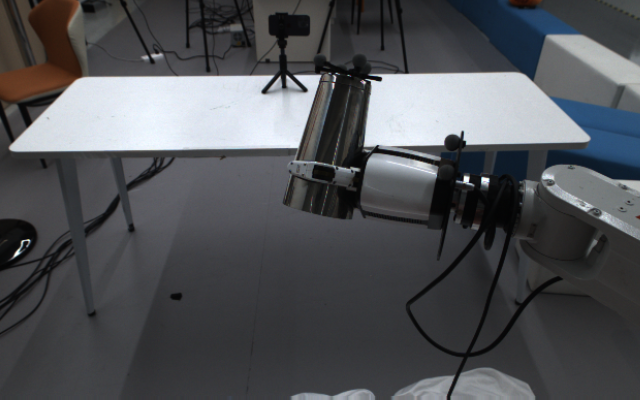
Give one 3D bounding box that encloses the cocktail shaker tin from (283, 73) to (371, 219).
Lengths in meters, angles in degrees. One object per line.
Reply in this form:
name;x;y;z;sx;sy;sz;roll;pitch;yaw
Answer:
cocktail shaker tin;0.015;-0.069;0.618;0.093;0.170;0.093;13;4;-1
